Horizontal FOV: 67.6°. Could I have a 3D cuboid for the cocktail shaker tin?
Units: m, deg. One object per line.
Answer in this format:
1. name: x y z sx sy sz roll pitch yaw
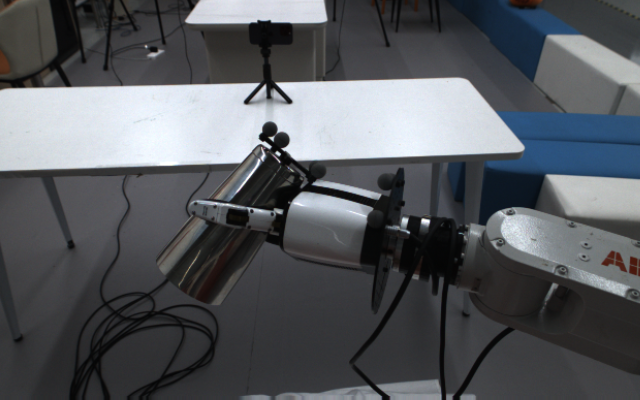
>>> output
1. cocktail shaker tin: -0.093 0.021 0.549 0.170 0.093 0.093 -50 46 4
